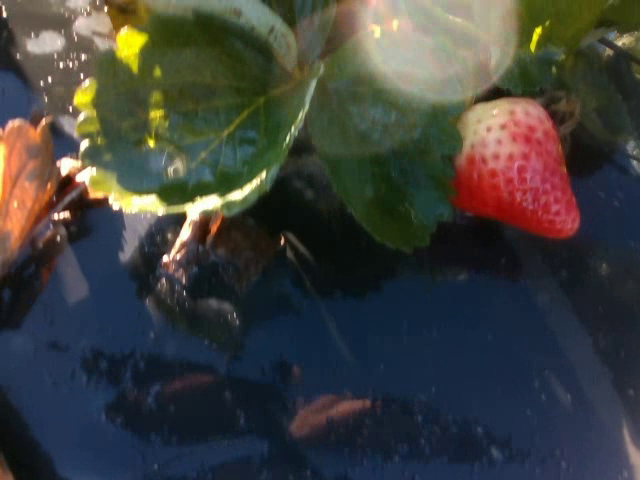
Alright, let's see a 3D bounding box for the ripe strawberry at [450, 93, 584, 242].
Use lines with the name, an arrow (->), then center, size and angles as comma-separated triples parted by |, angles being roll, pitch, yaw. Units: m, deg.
ripe strawberry -> 0.073, -0.022, 0.215 | 0.040, 0.065, 0.040 | -39, 1, -14
